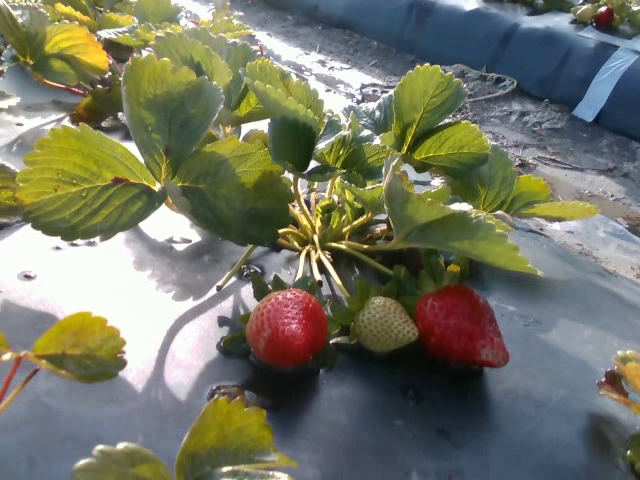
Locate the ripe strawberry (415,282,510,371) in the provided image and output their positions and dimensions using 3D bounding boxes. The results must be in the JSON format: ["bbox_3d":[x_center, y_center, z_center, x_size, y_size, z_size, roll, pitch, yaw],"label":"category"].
[{"bbox_3d":[0.077,0.048,0.324,0.050,0.048,0.065,51,3,-45],"label":"ripe strawberry"}]
